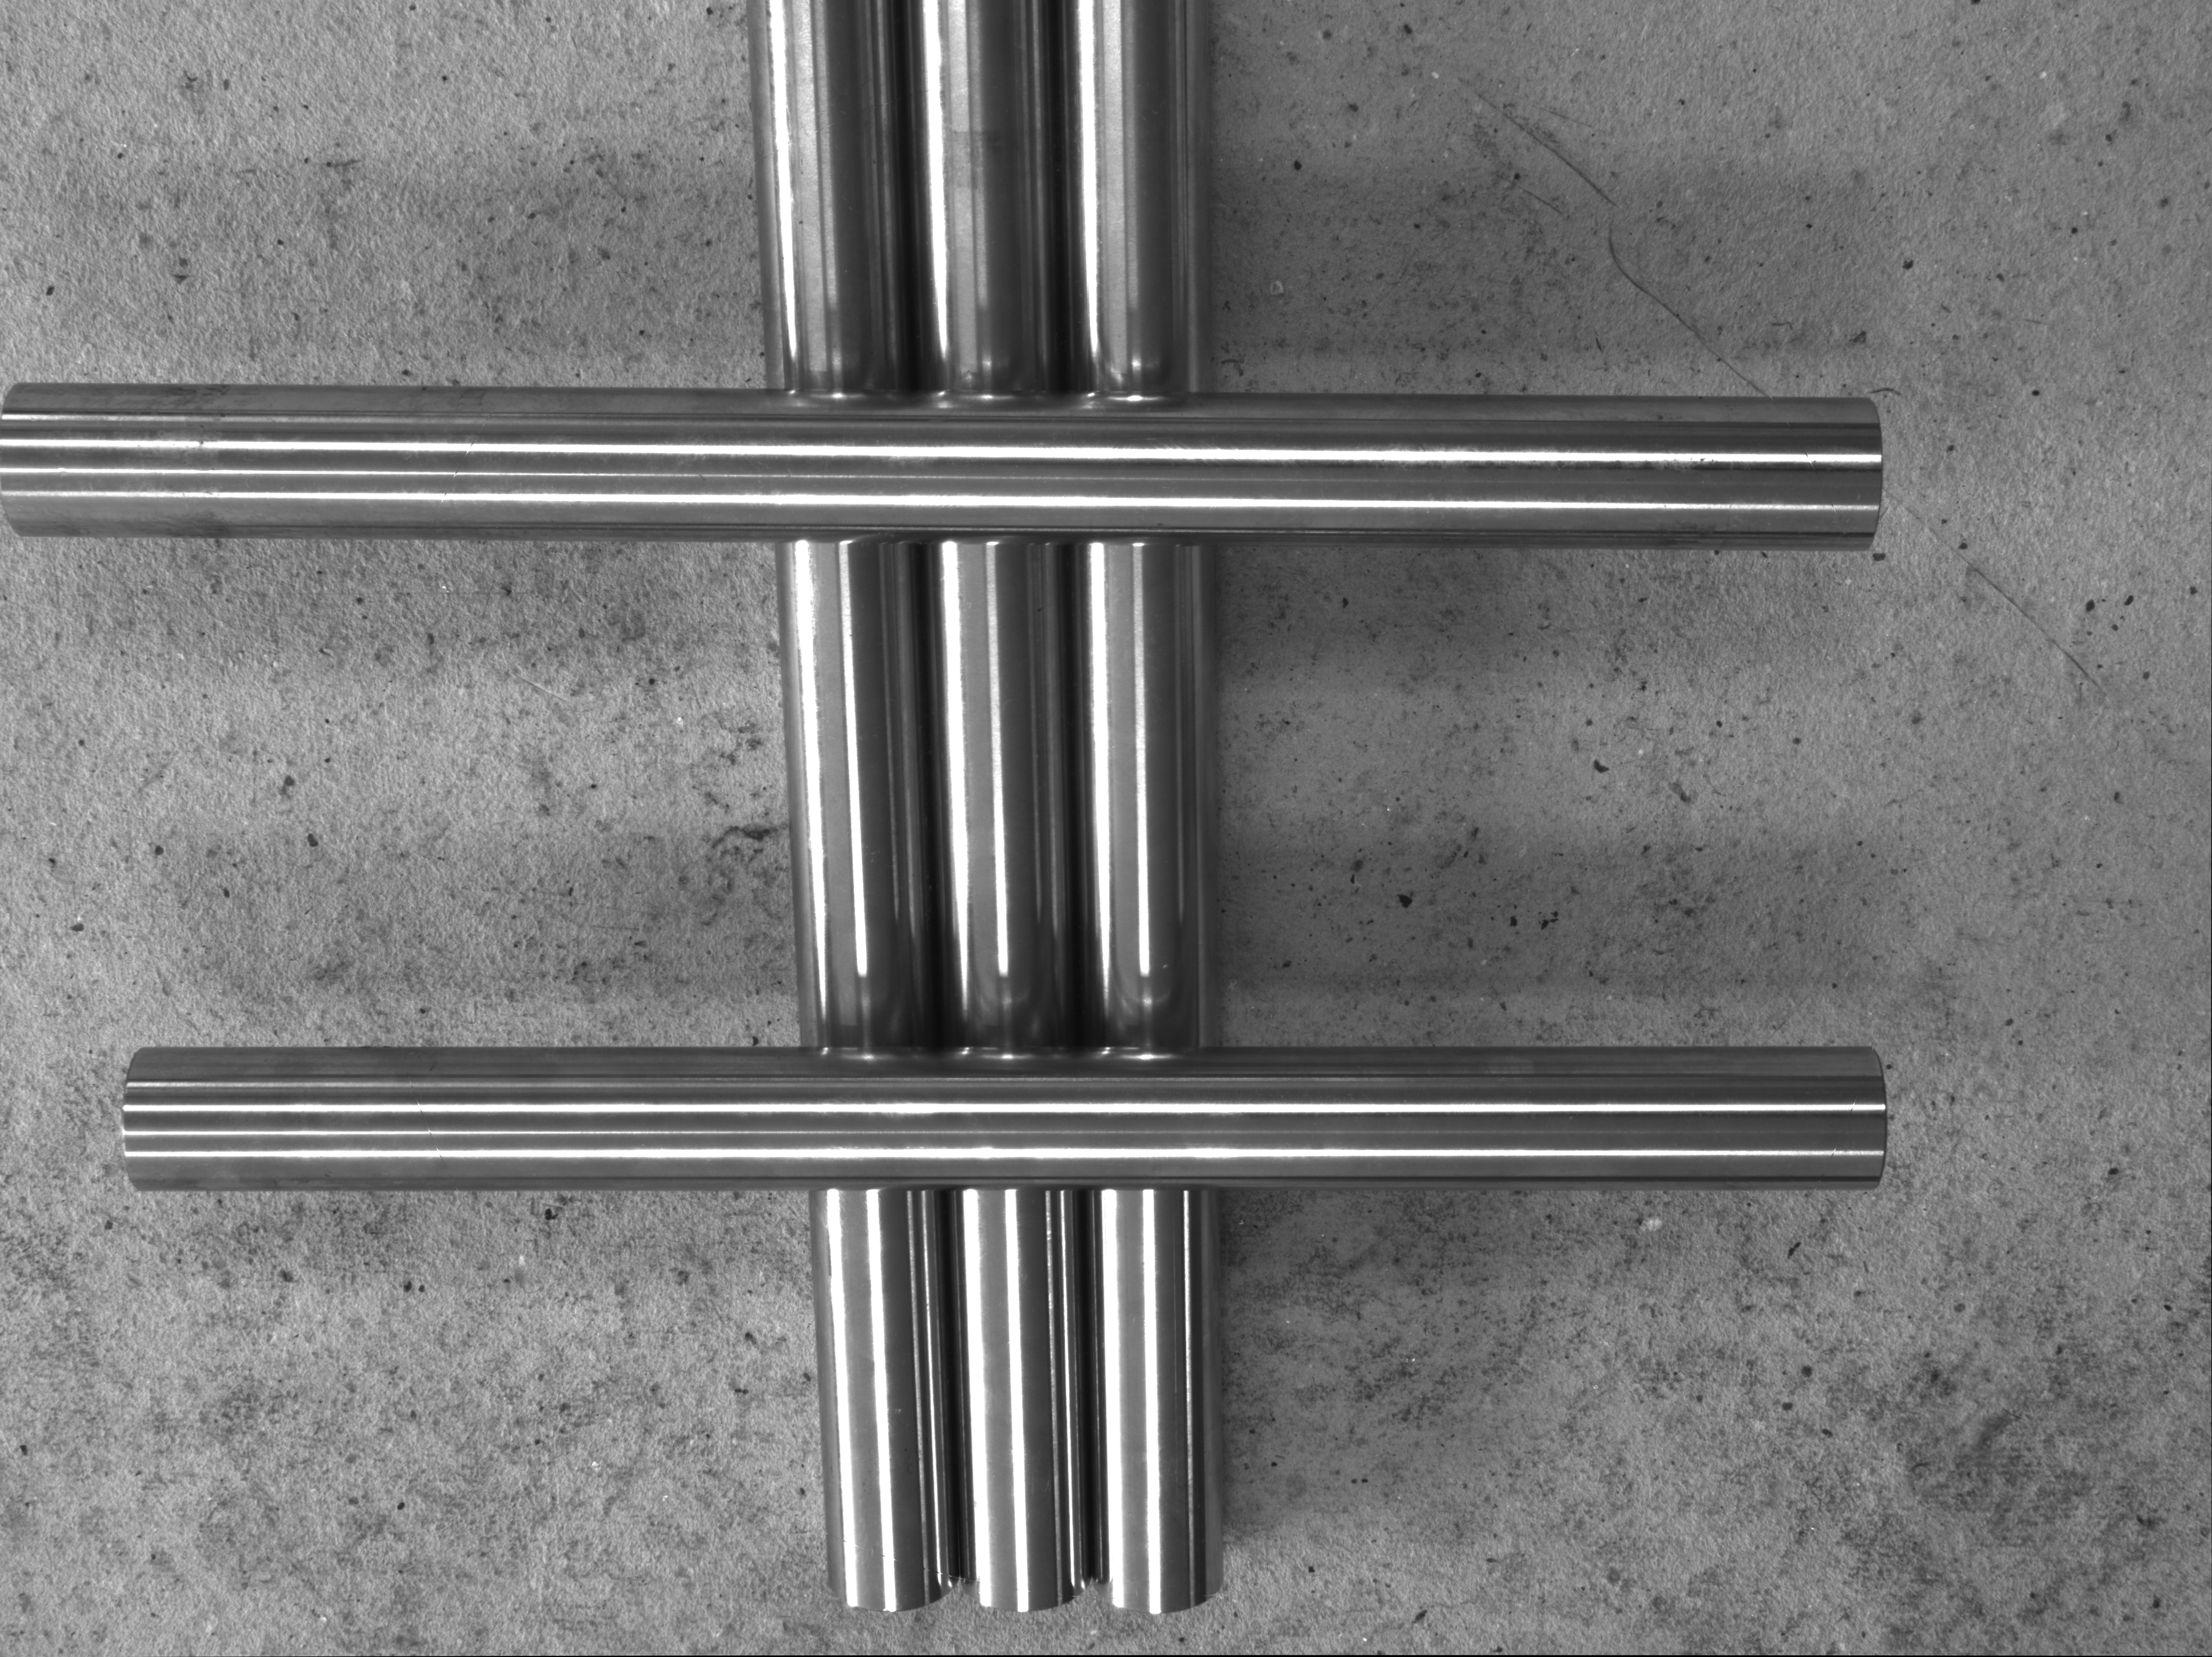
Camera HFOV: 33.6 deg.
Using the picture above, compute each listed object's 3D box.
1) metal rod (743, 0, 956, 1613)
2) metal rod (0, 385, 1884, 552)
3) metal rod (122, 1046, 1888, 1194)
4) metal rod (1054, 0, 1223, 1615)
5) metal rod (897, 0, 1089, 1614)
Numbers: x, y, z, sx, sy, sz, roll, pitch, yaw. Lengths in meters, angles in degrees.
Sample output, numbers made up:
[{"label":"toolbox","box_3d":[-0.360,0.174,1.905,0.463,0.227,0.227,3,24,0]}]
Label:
[{"label":"metal rod","box_3d":[-0.043,0.001,0.644,0.025,0.025,0.300,-1,110,0]},{"label":"metal rod","box_3d":[-0.026,-0.058,0.596,0.300,0.025,0.025,0,110,0]},{"label":"metal rod","box_3d":[-0.017,0.050,0.635,0.300,0.025,0.025,0,110,0]},{"label":"metal rod","box_3d":[0.007,0.001,0.644,0.025,0.025,0.300,-1,110,0]},{"label":"metal rod","box_3d":[-0.019,0.001,0.644,0.025,0.025,0.300,-1,110,0]}]
